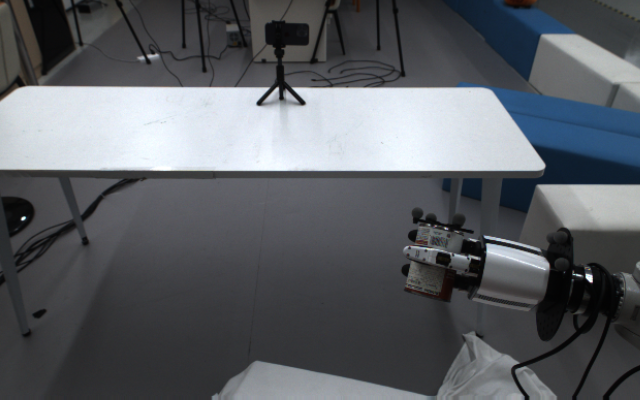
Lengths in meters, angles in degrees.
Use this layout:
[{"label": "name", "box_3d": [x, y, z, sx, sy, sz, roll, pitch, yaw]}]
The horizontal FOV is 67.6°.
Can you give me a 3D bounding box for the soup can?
[{"label": "soup can", "box_3d": [0.169, 0.091, 0.705, 0.067, 0.101, 0.067, 14, -6, 1]}]
